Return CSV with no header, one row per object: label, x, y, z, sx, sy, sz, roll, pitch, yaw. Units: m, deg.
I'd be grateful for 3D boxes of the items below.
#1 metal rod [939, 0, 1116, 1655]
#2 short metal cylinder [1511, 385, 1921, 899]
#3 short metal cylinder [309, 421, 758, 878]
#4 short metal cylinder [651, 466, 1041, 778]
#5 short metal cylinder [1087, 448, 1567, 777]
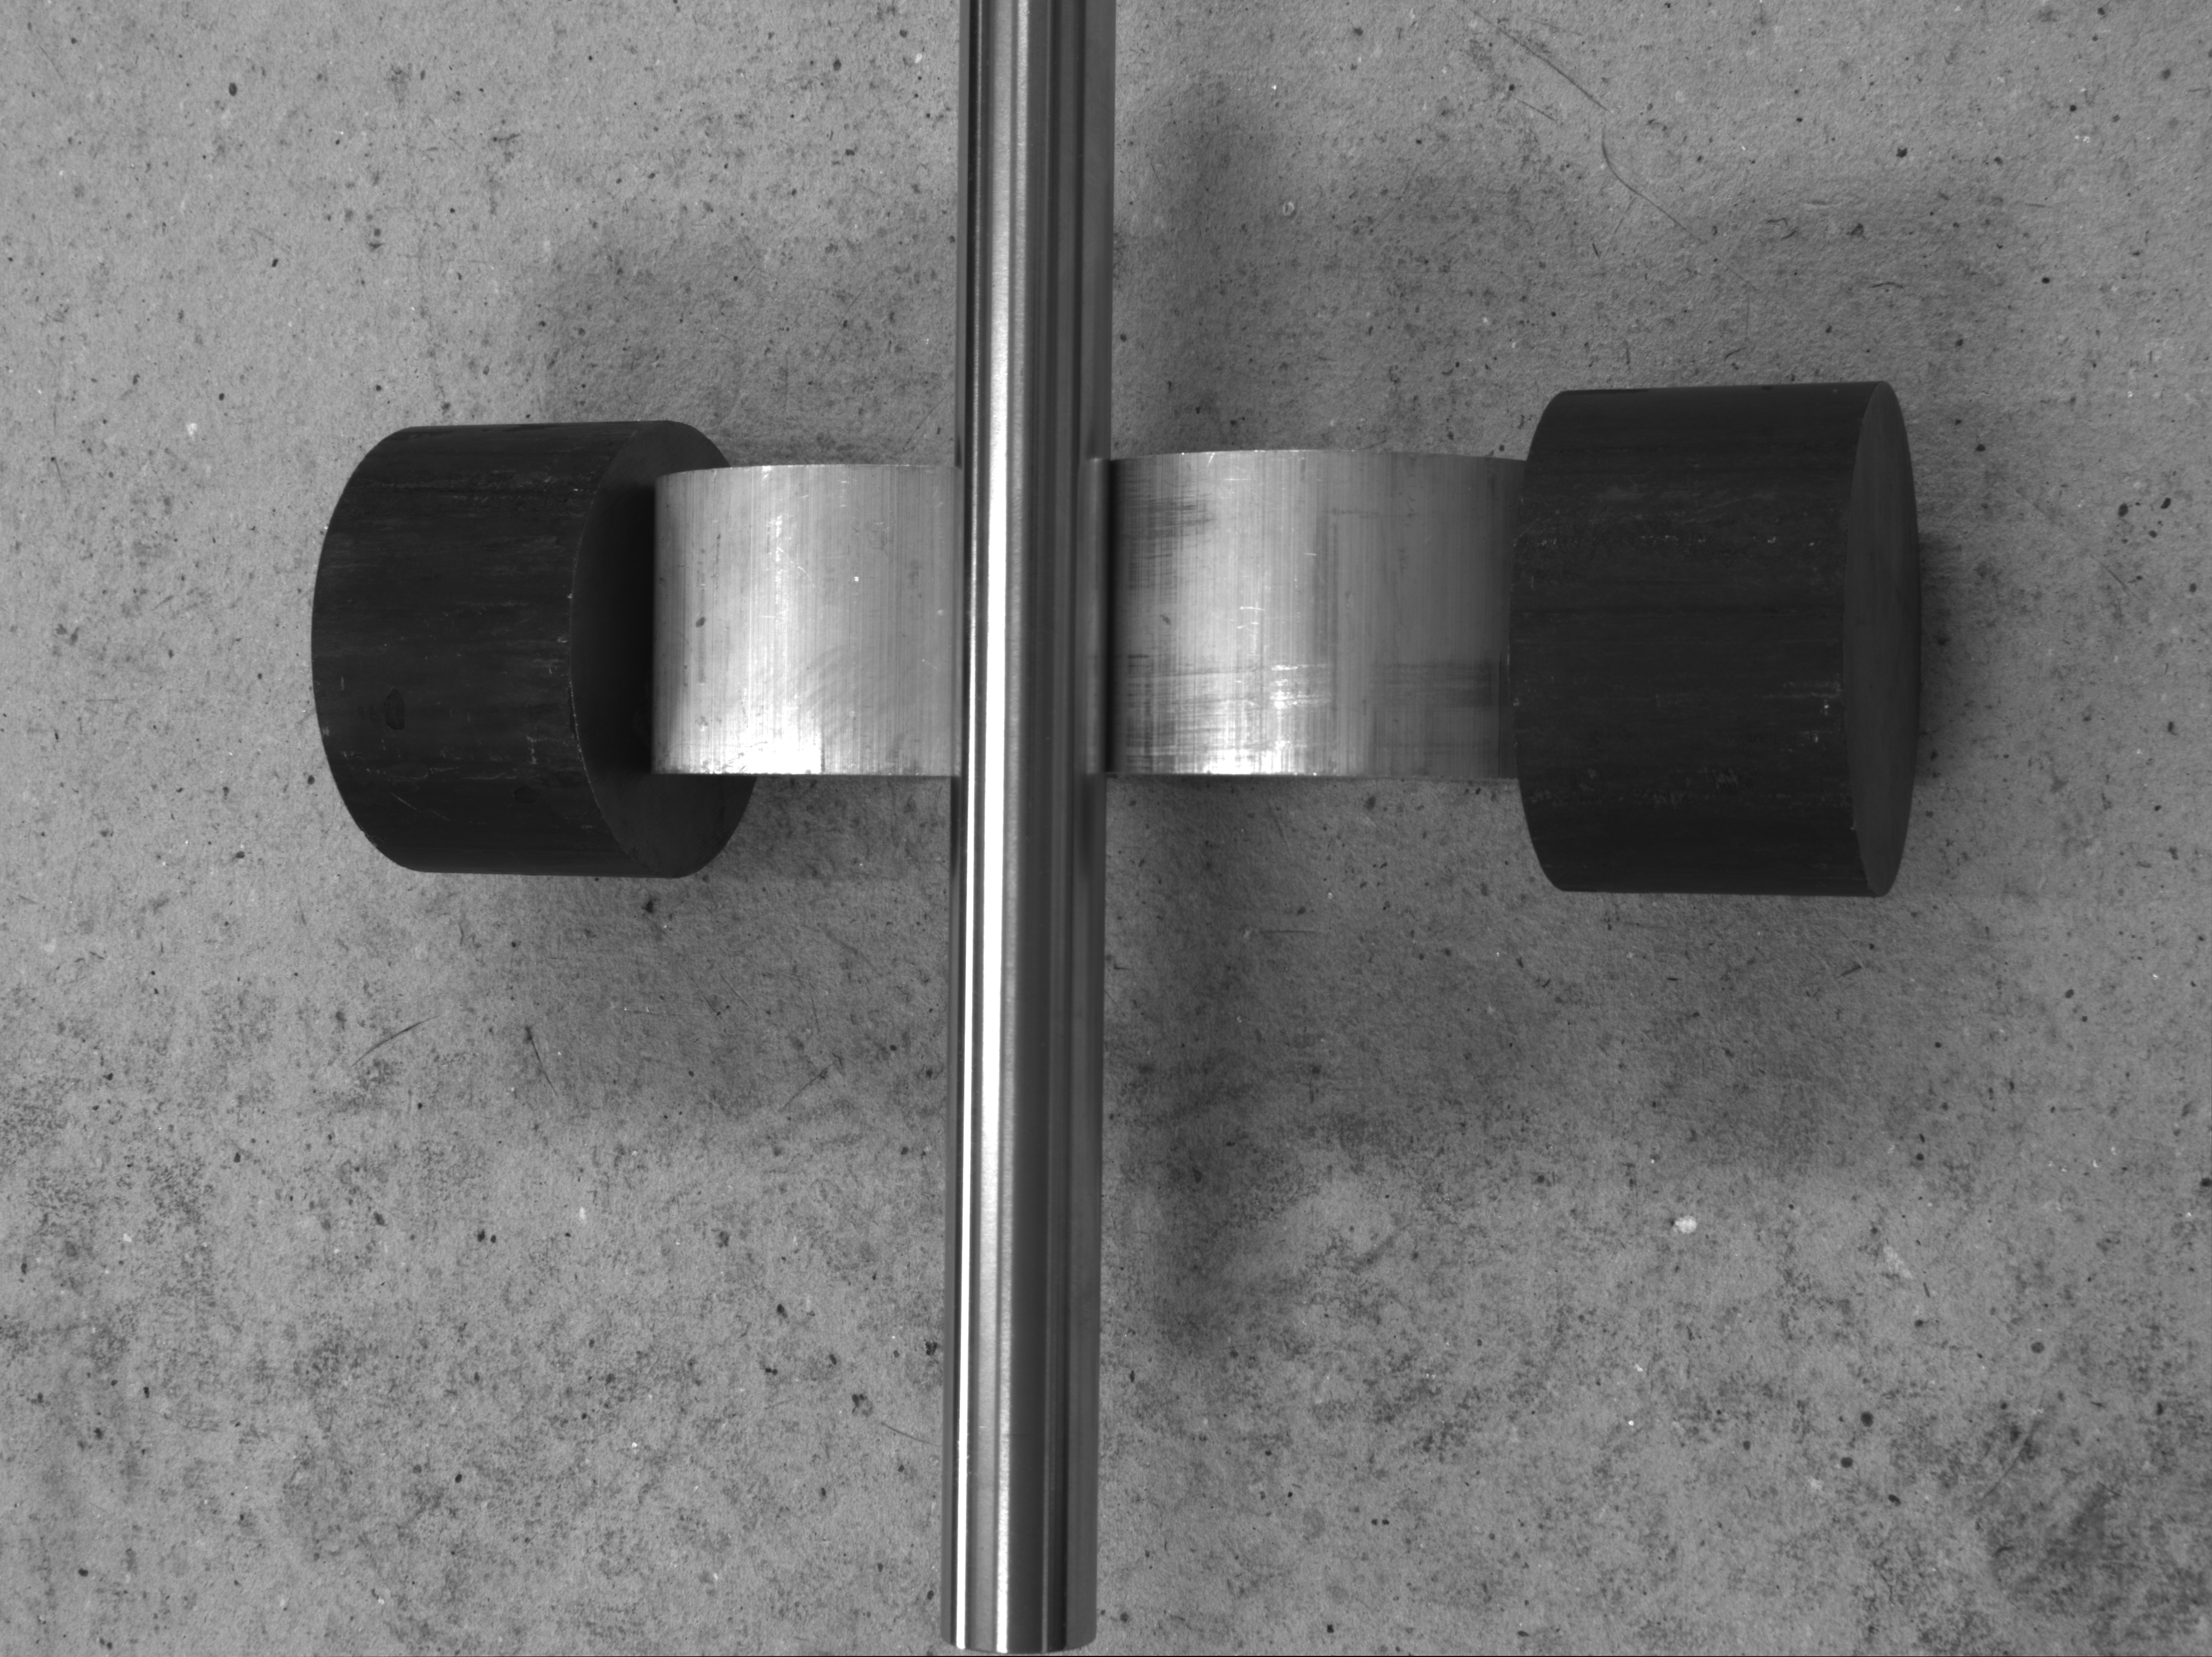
metal rod,-0.012,-0.021,0.586,0.025,0.025,0.300,1,90,20
short metal cylinder,0.098,-0.029,0.582,0.050,0.080,0.080,1,90,20
short metal cylinder,-0.098,-0.032,0.654,0.050,0.080,0.080,1,90,20
short metal cylinder,-0.038,-0.034,0.632,0.080,0.080,0.050,1,90,20
short metal cylinder,0.037,-0.034,0.604,0.080,0.080,0.050,1,90,20
